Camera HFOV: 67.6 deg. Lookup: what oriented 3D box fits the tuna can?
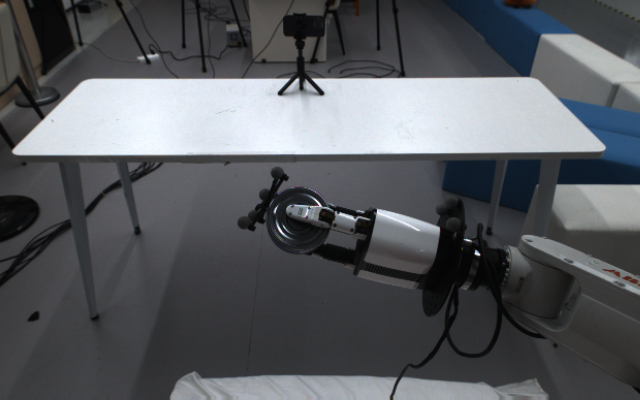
[{"bbox_3d":[-0.024,0.030,0.629,0.085,0.034,0.085,1,76,-5],"label":"tuna can"}]
